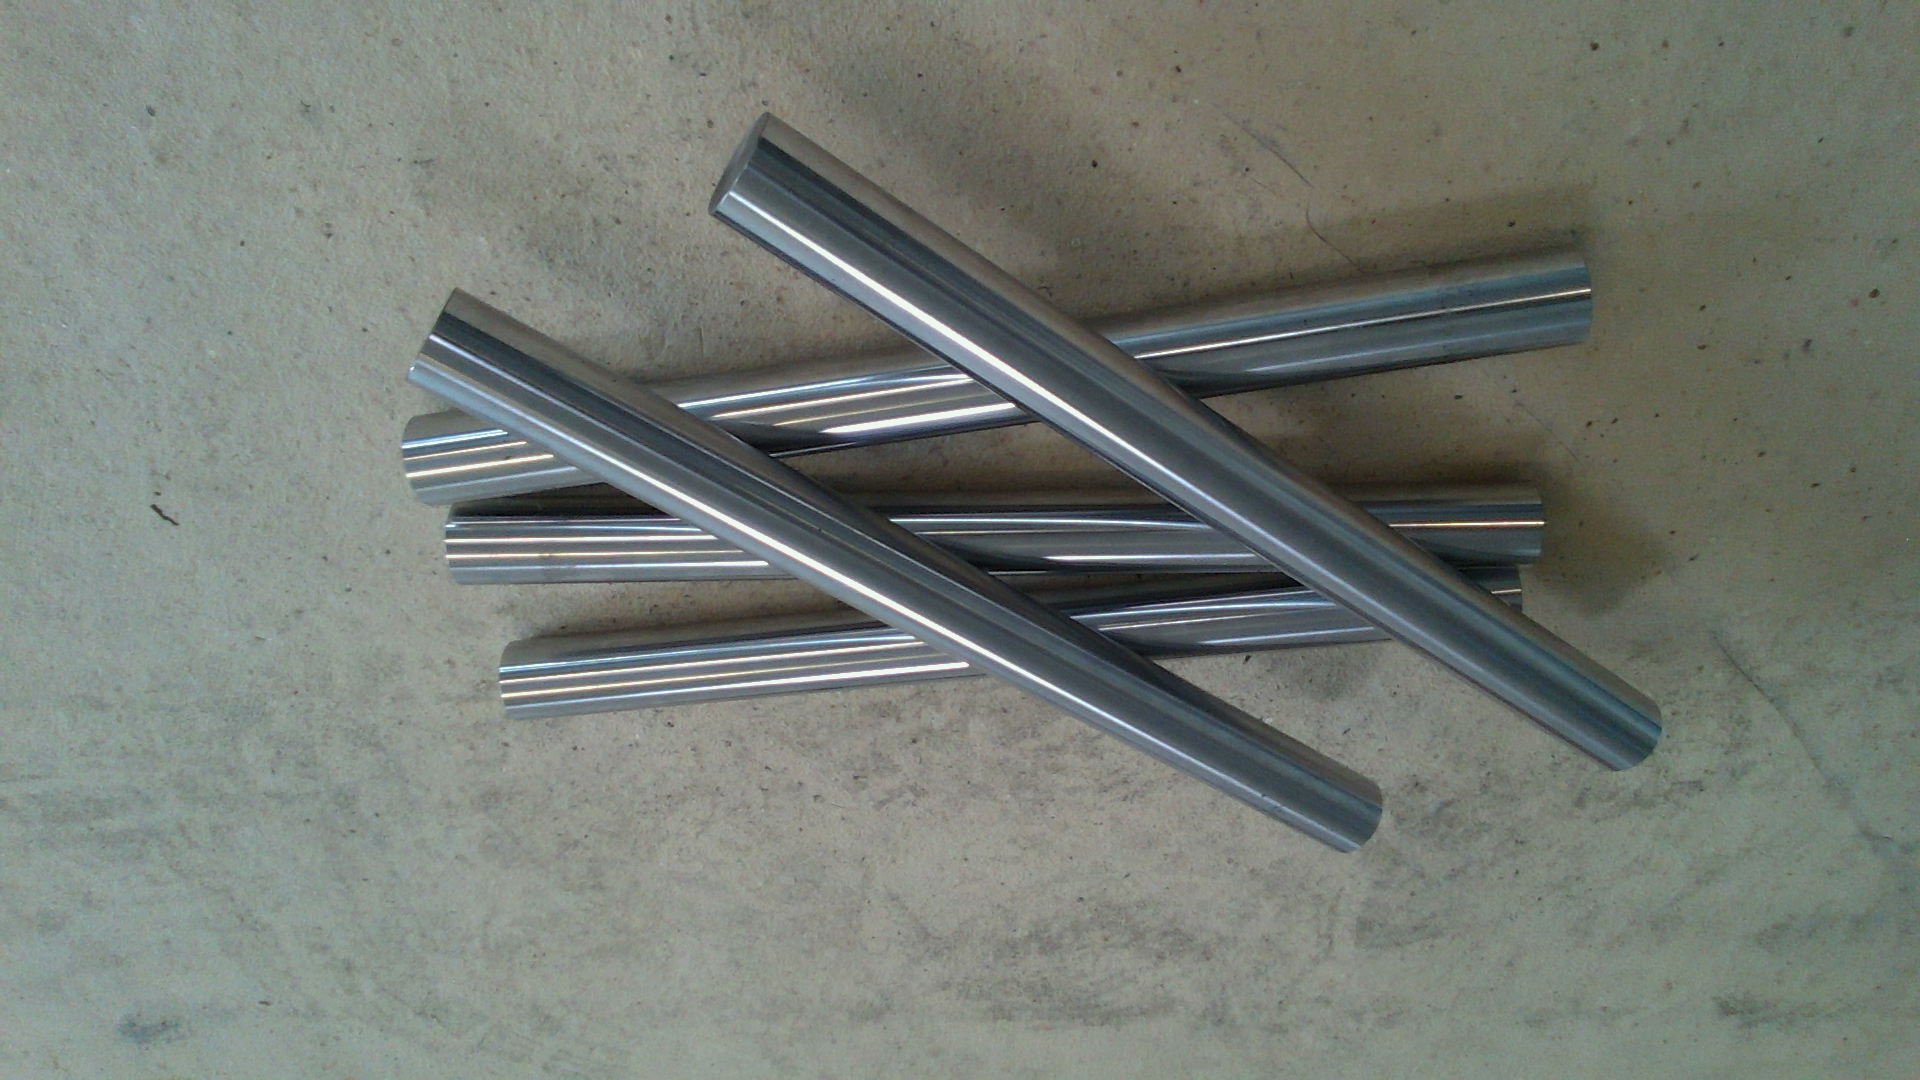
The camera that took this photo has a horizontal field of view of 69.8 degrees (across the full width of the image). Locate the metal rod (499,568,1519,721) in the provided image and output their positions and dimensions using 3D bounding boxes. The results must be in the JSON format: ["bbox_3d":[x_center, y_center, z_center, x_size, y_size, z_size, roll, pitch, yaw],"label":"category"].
[{"bbox_3d":[0.011,0.029,0.415,0.300,0.025,0.025,-6,130,4],"label":"metal rod"}]

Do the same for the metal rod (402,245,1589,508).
[{"bbox_3d":[0.003,-0.041,0.356,0.300,0.025,0.025,-8,130,6],"label":"metal rod"}]

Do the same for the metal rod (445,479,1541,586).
[{"bbox_3d":[0.009,-0.002,0.389,0.300,0.025,0.025,-1,130,1],"label":"metal rod"}]

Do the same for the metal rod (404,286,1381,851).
[{"bbox_3d":[0.000,0.019,0.374,0.301,0.025,0.025,29,124,-22],"label":"metal rod"}]

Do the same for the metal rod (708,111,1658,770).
[{"bbox_3d":[0.074,-0.012,0.348,0.301,0.025,0.025,29,124,-23],"label":"metal rod"}]
